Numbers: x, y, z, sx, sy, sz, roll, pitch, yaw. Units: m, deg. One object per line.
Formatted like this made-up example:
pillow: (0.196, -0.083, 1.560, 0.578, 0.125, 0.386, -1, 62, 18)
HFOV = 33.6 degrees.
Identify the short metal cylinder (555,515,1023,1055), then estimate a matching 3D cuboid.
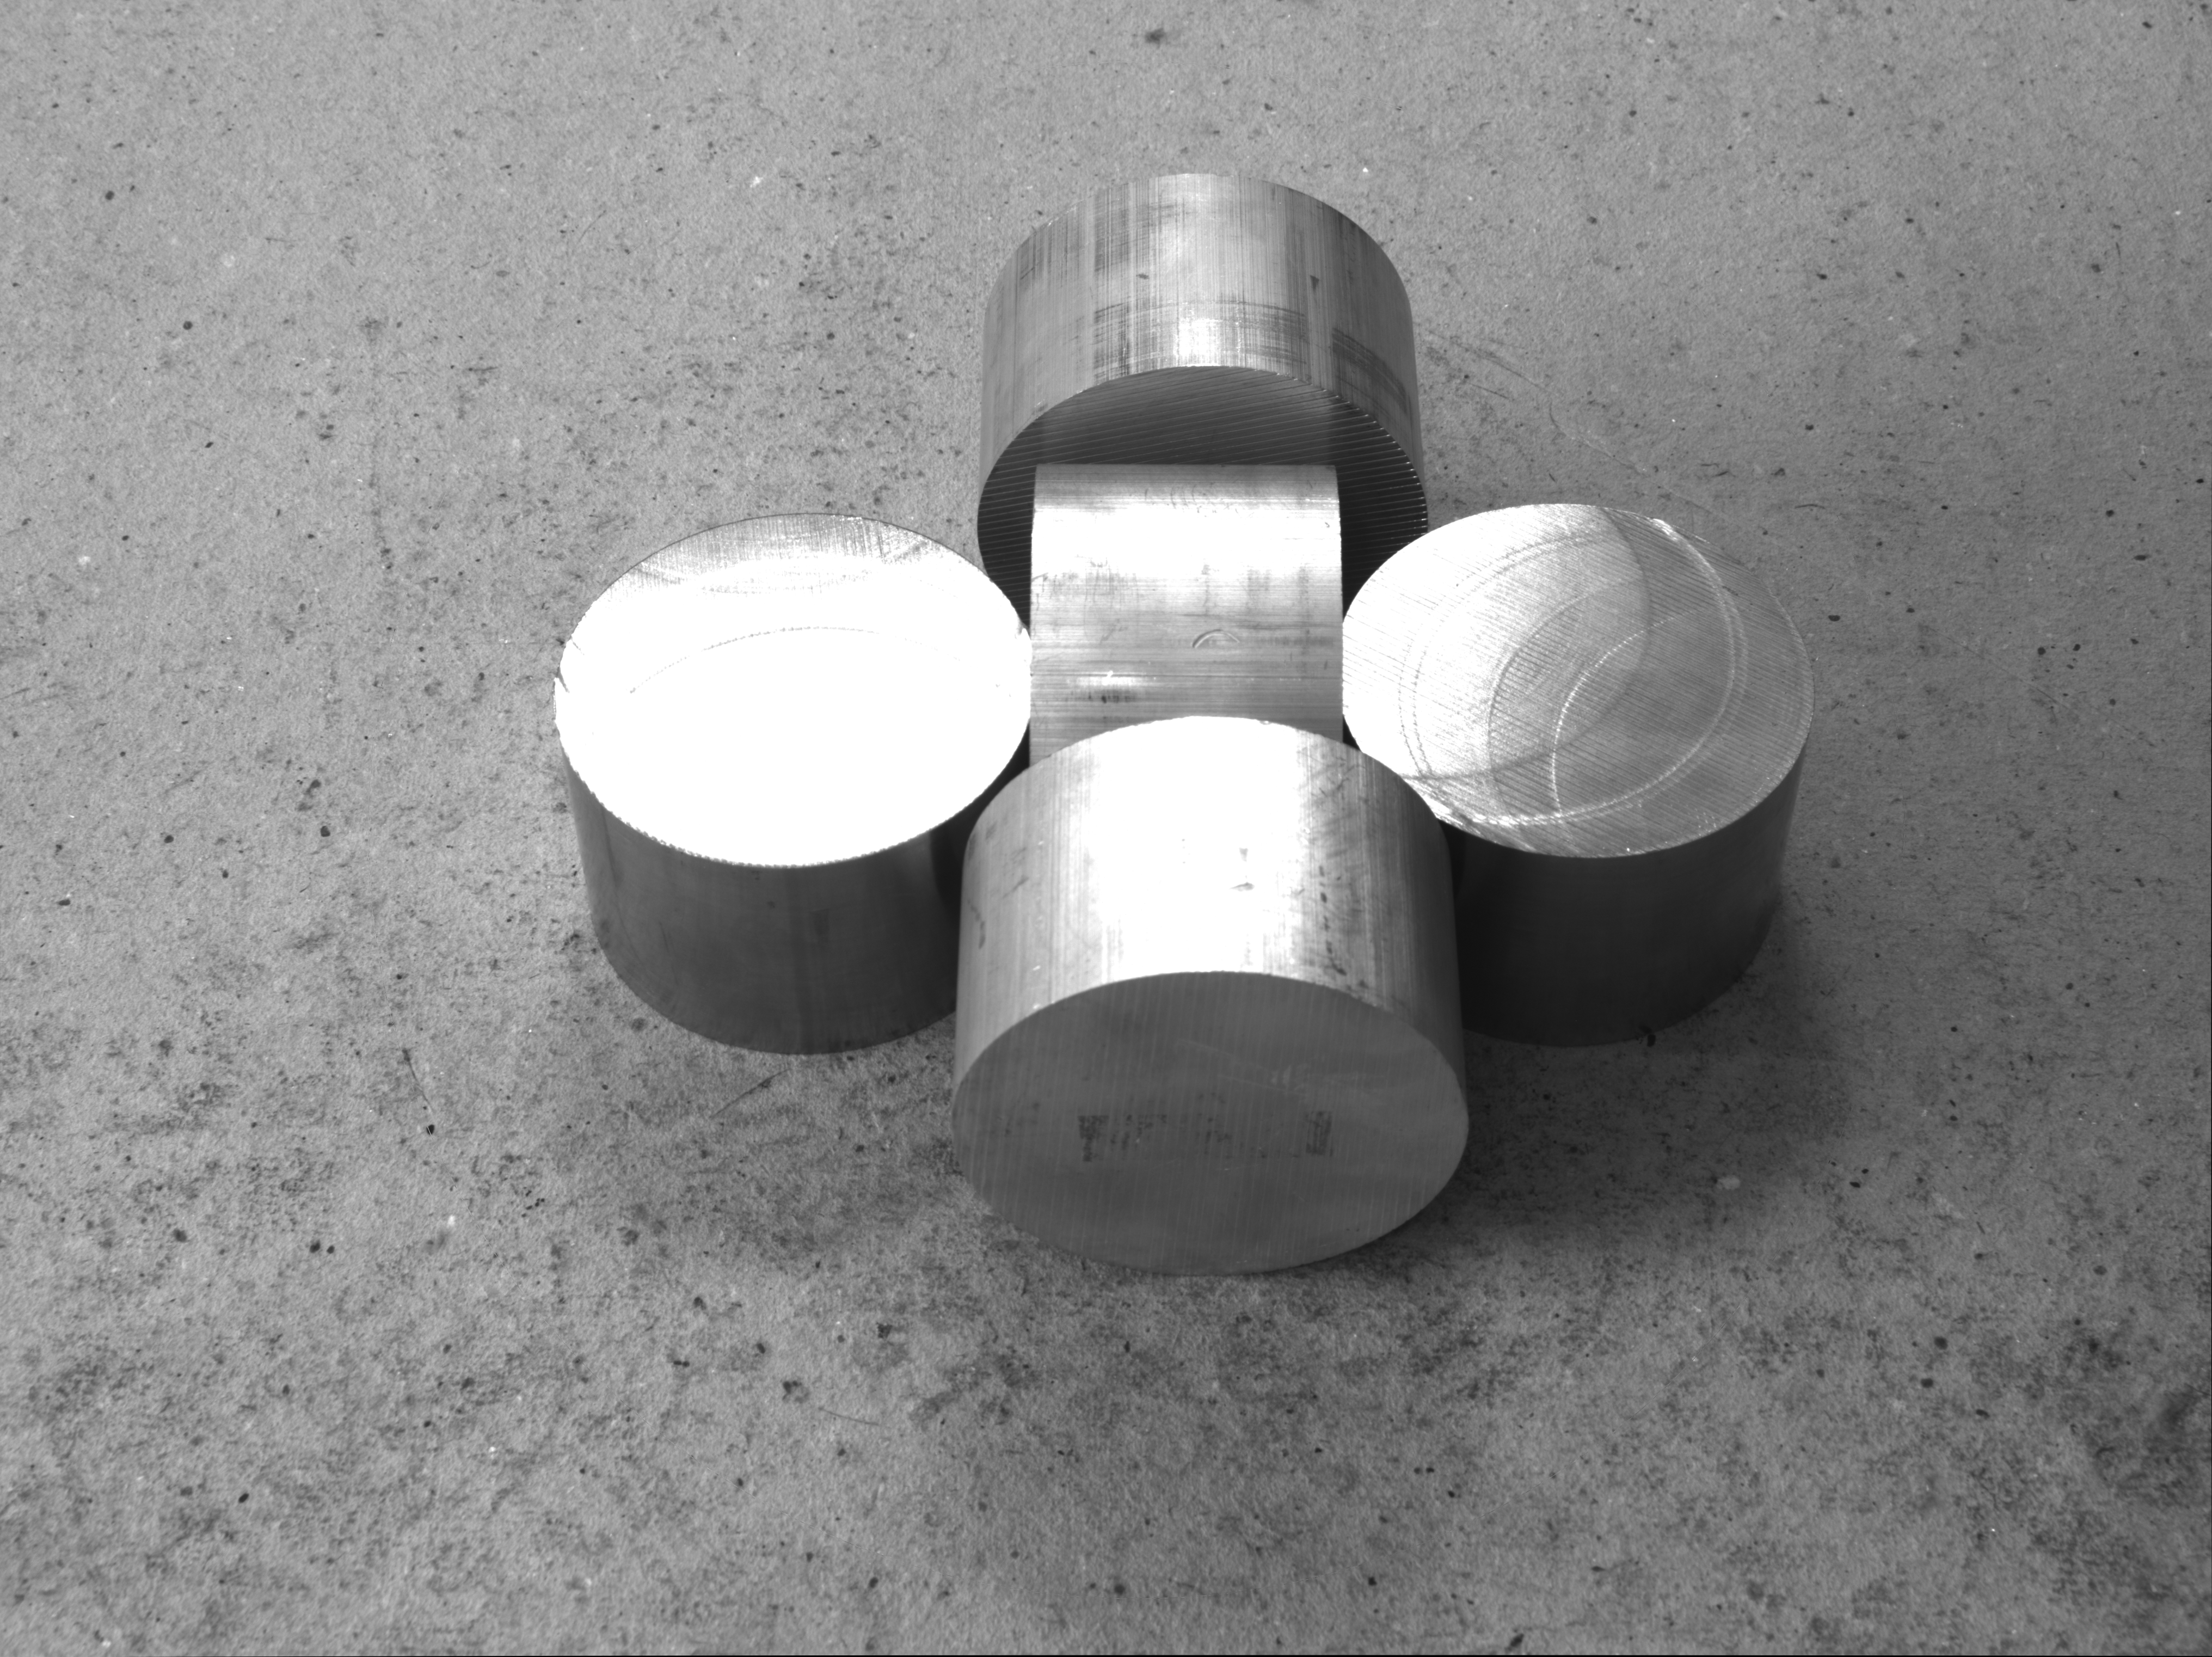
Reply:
short metal cylinder: (-0.052, -0.008, 0.632, 0.080, 0.050, 0.080, 1, 49, 0)

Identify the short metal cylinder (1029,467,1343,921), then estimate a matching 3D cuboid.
short metal cylinder: (0.013, -0.021, 0.625, 0.050, 0.080, 0.080, 0, 50, 1)

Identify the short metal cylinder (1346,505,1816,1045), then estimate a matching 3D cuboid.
short metal cylinder: (0.079, -0.010, 0.633, 0.080, 0.050, 0.080, 0, 50, 0)

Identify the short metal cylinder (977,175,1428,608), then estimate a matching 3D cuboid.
short metal cylinder: (0.017, -0.071, 0.667, 0.080, 0.080, 0.050, 0, 50, 0)

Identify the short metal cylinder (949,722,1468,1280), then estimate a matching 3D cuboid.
short metal cylinder: (0.016, 0.028, 0.583, 0.080, 0.080, 0.050, 0, 49, 0)
